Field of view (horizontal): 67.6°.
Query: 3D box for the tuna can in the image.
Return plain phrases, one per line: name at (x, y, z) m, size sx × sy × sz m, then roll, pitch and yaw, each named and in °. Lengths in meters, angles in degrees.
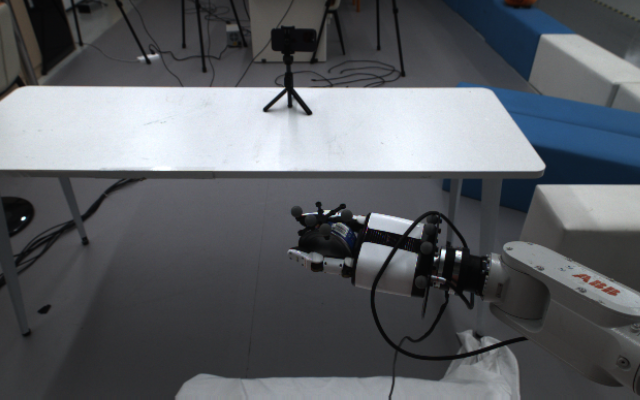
tuna can at (0.014, 0.067, 0.734) m, size 0.085 × 0.085 × 0.034 m, roll 14°, pitch 40°, yaw 16°
